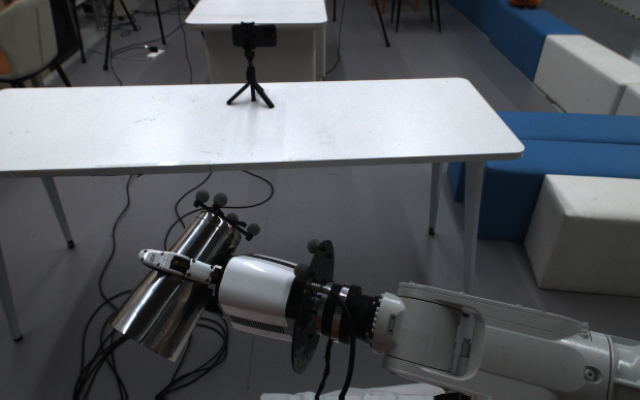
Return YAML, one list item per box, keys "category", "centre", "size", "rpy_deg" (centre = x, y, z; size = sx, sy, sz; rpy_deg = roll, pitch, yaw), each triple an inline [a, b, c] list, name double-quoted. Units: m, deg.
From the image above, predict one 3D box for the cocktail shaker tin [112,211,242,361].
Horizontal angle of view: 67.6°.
- category: "cocktail shaker tin"
  centre: [-0.170, 0.098, 0.601]
  size: [0.093, 0.093, 0.170]
  rpy_deg: [20, 66, 24]
